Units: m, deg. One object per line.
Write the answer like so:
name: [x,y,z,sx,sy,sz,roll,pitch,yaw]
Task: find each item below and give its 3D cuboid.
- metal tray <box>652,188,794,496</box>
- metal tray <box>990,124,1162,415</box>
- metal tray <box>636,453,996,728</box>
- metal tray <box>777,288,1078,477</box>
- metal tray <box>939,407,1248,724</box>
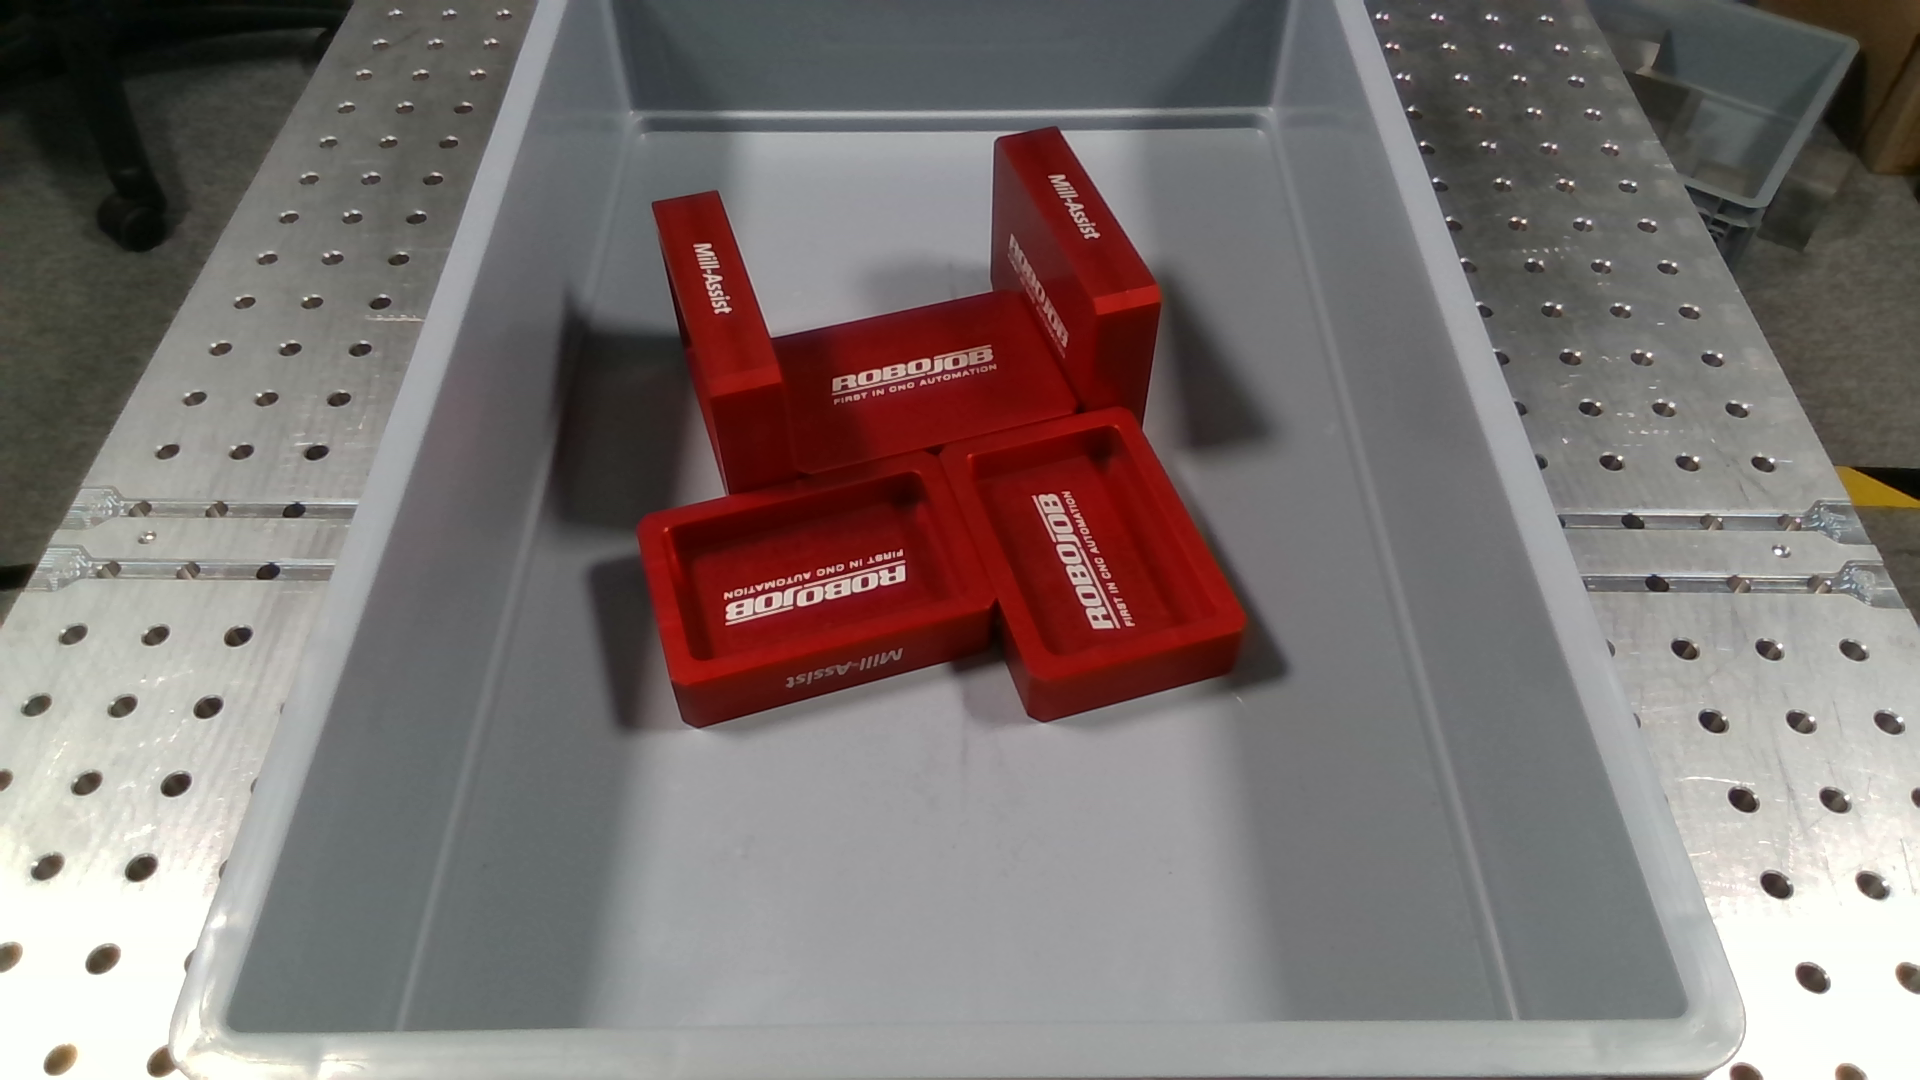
metal tray: [-0.104,-0.081,0.609,0.030,0.090,0.130,-14,51,-11]
metal tray: [0.050,-0.119,0.640,0.030,0.090,0.130,-14,52,-12]
metal tray: [-0.060,0.018,0.567,0.130,0.030,0.090,-14,51,-11]
metal tray: [-0.022,-0.066,0.636,0.130,0.030,0.090,-14,51,-11]
metal tray: [0.052,0.007,0.577,0.090,0.030,0.130,-14,51,-11]
